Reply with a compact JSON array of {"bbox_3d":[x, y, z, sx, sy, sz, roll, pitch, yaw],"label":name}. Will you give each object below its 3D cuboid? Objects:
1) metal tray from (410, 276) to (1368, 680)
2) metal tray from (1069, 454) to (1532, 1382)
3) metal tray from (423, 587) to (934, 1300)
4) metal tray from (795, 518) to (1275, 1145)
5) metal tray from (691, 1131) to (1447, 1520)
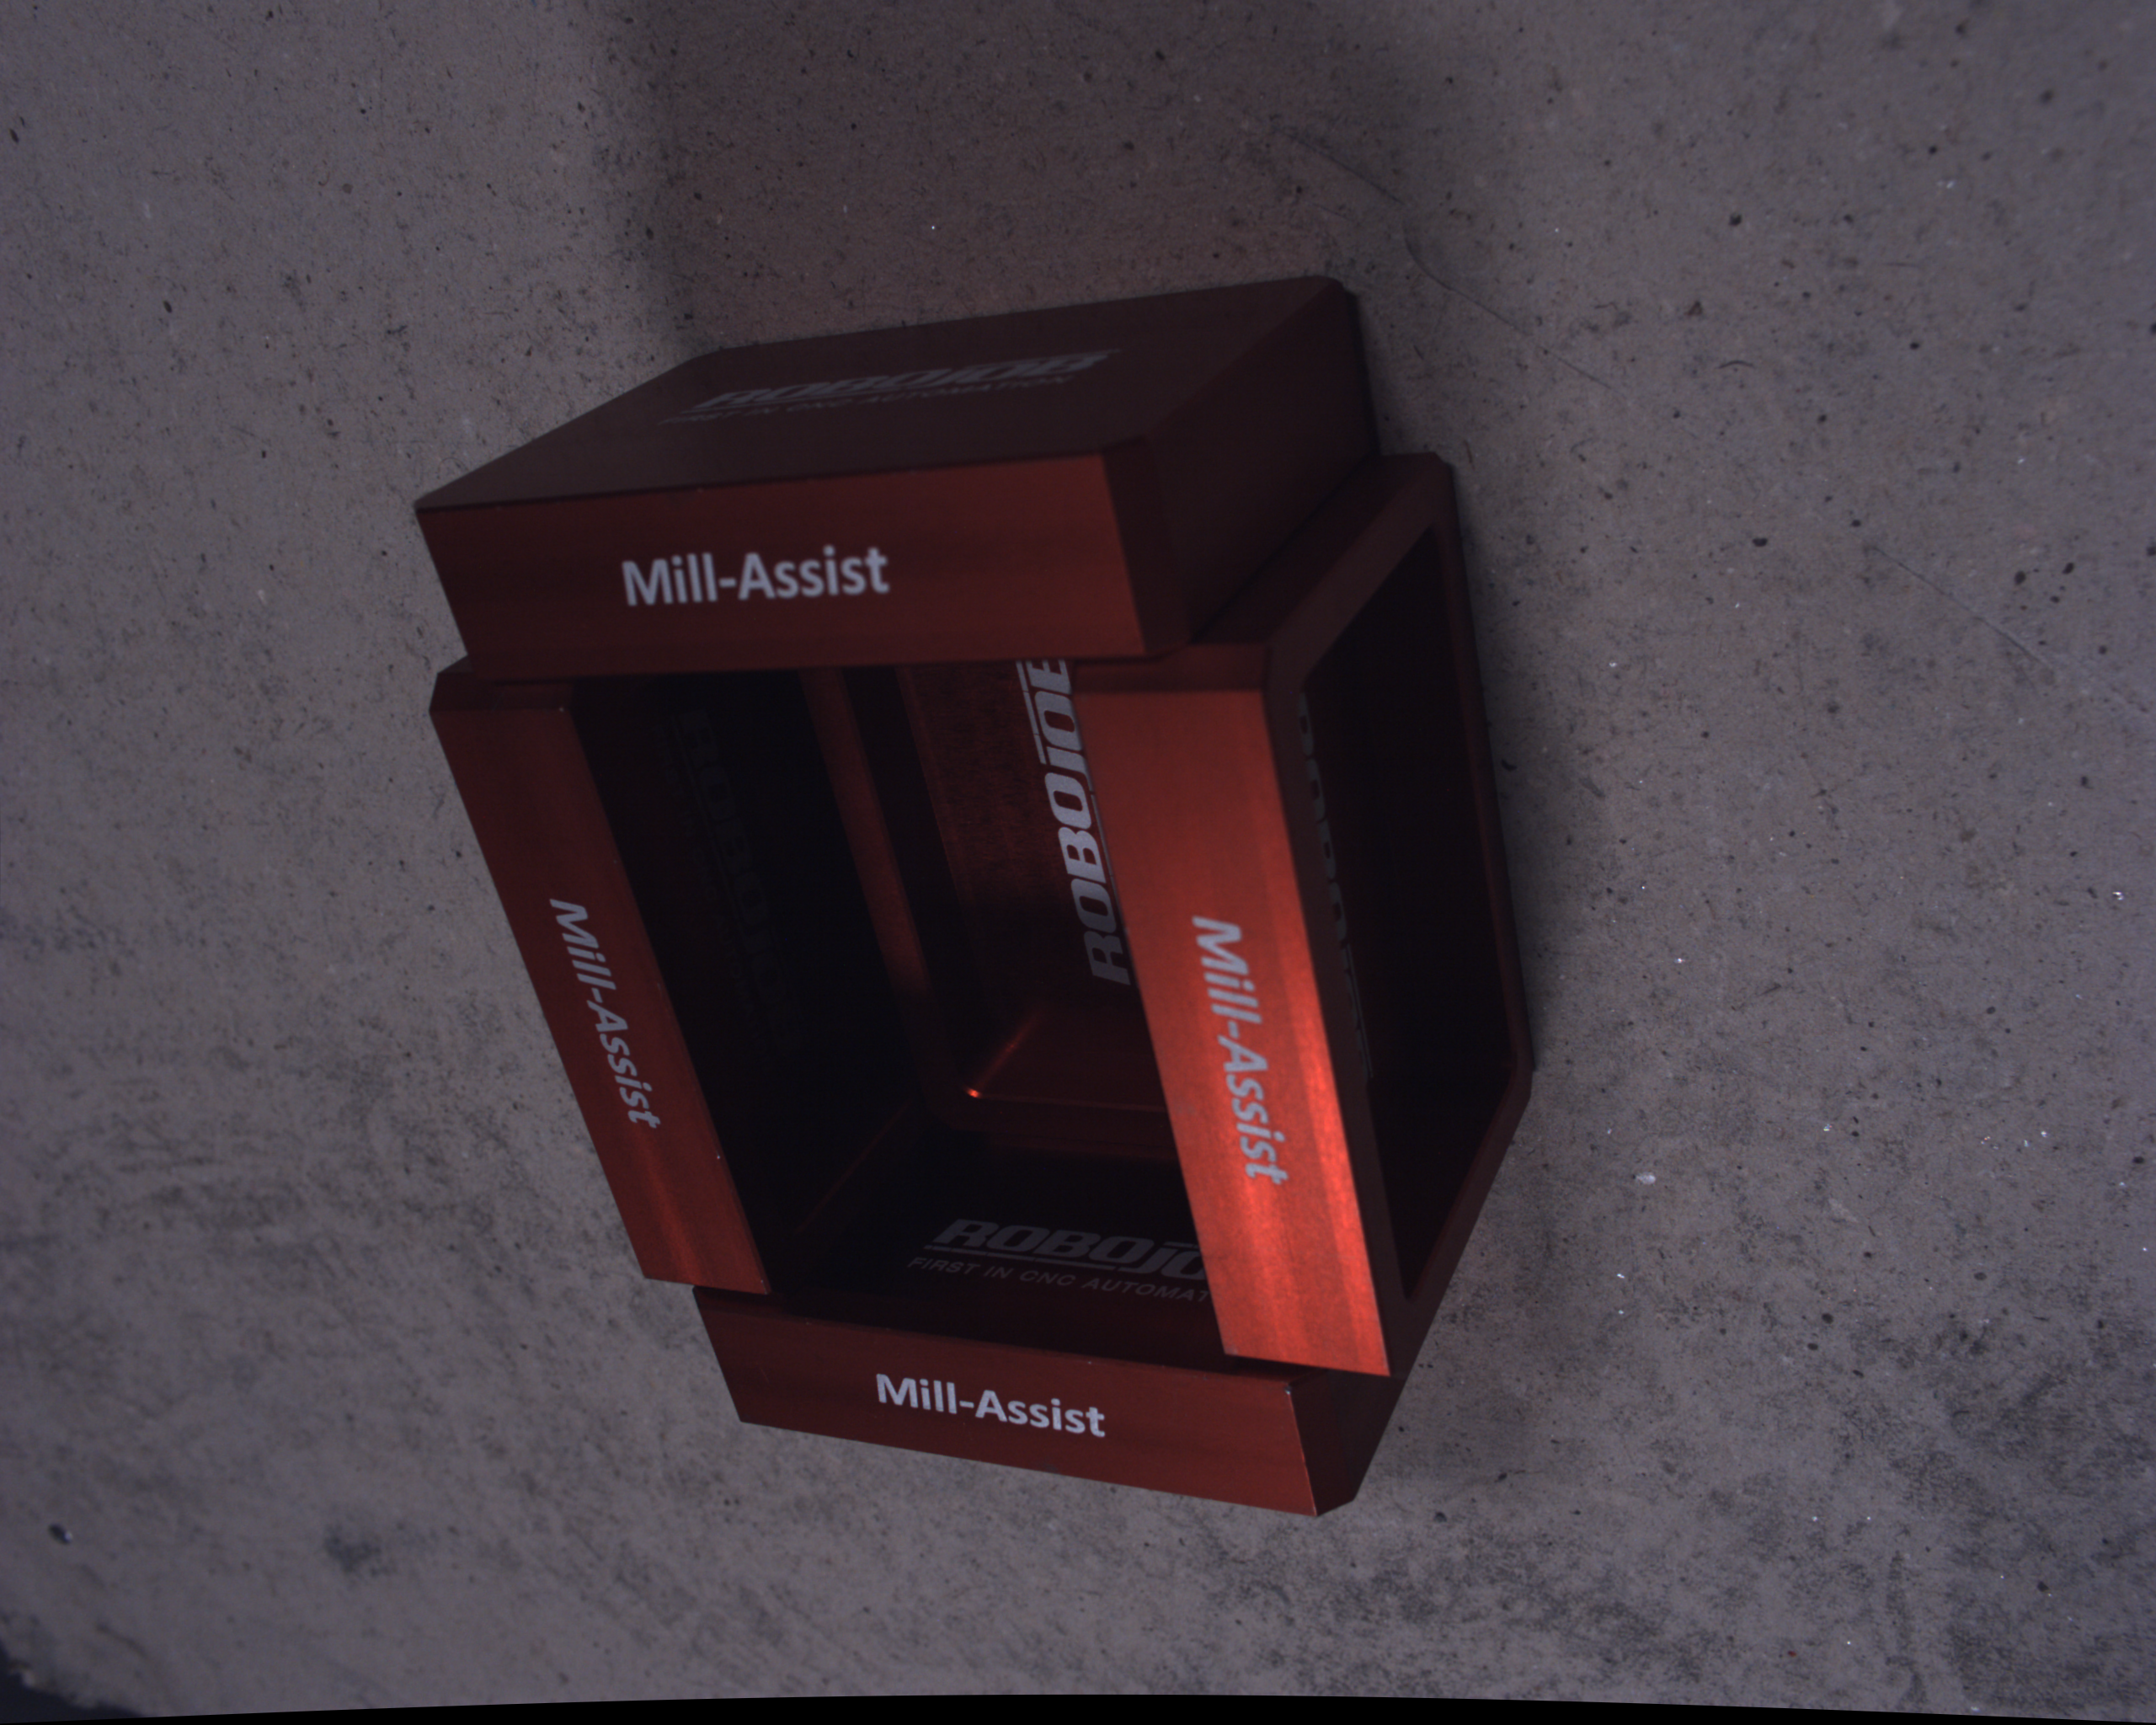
[{"bbox_3d":[-0.029,-0.063,0.341,0.130,0.090,0.030,1,119,27],"label":"metal tray"},{"bbox_3d":[0.043,0.008,0.347,0.030,0.090,0.129,1,119,28],"label":"metal tray"},{"bbox_3d":[-0.065,0.006,0.402,0.030,0.090,0.129,1,119,28],"label":"metal tray"},{"bbox_3d":[0.001,-0.008,0.398,0.090,0.030,0.129,1,119,27],"label":"metal tray"},{"bbox_3d":[0.003,0.077,0.411,0.130,0.090,0.030,1,119,27],"label":"metal tray"}]
